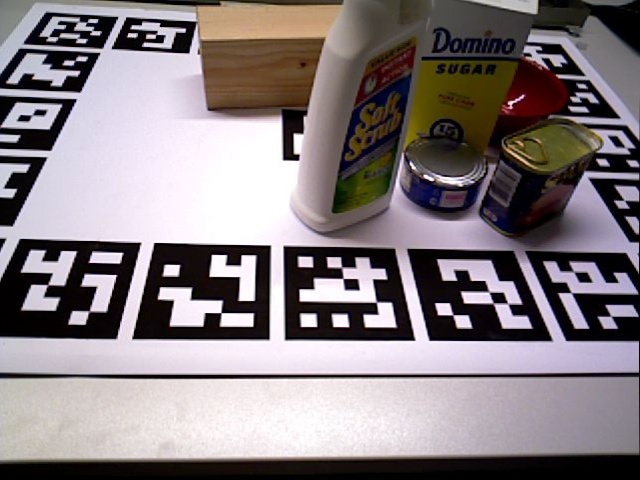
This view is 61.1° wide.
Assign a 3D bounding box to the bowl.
[{"bbox_3d":[0.219,-0.169,0.642,0.161,0.056,0.159,0,45,-1],"label":"bowl"}]

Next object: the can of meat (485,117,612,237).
[{"bbox_3d":[0.212,-0.059,0.516,0.100,0.086,0.057,-21,48,-27],"label":"can of meat"}]

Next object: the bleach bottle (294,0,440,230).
[{"bbox_3d":[0.036,-0.129,0.441,0.101,0.257,0.067,-18,49,-23],"label":"bleach bottle"}]

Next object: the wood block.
[{"bbox_3d":[-0.038,-0.219,0.644,0.204,0.092,0.090,-4,50,-12],"label":"wood block"}]

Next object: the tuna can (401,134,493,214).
[{"bbox_3d":[0.124,-0.066,0.540,0.085,0.034,0.084,2,48,-3],"label":"tuna can"}]

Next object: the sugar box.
[{"bbox_3d":[0.150,-0.160,0.534,0.093,0.180,0.044,15,47,13],"label":"sugar box"}]
